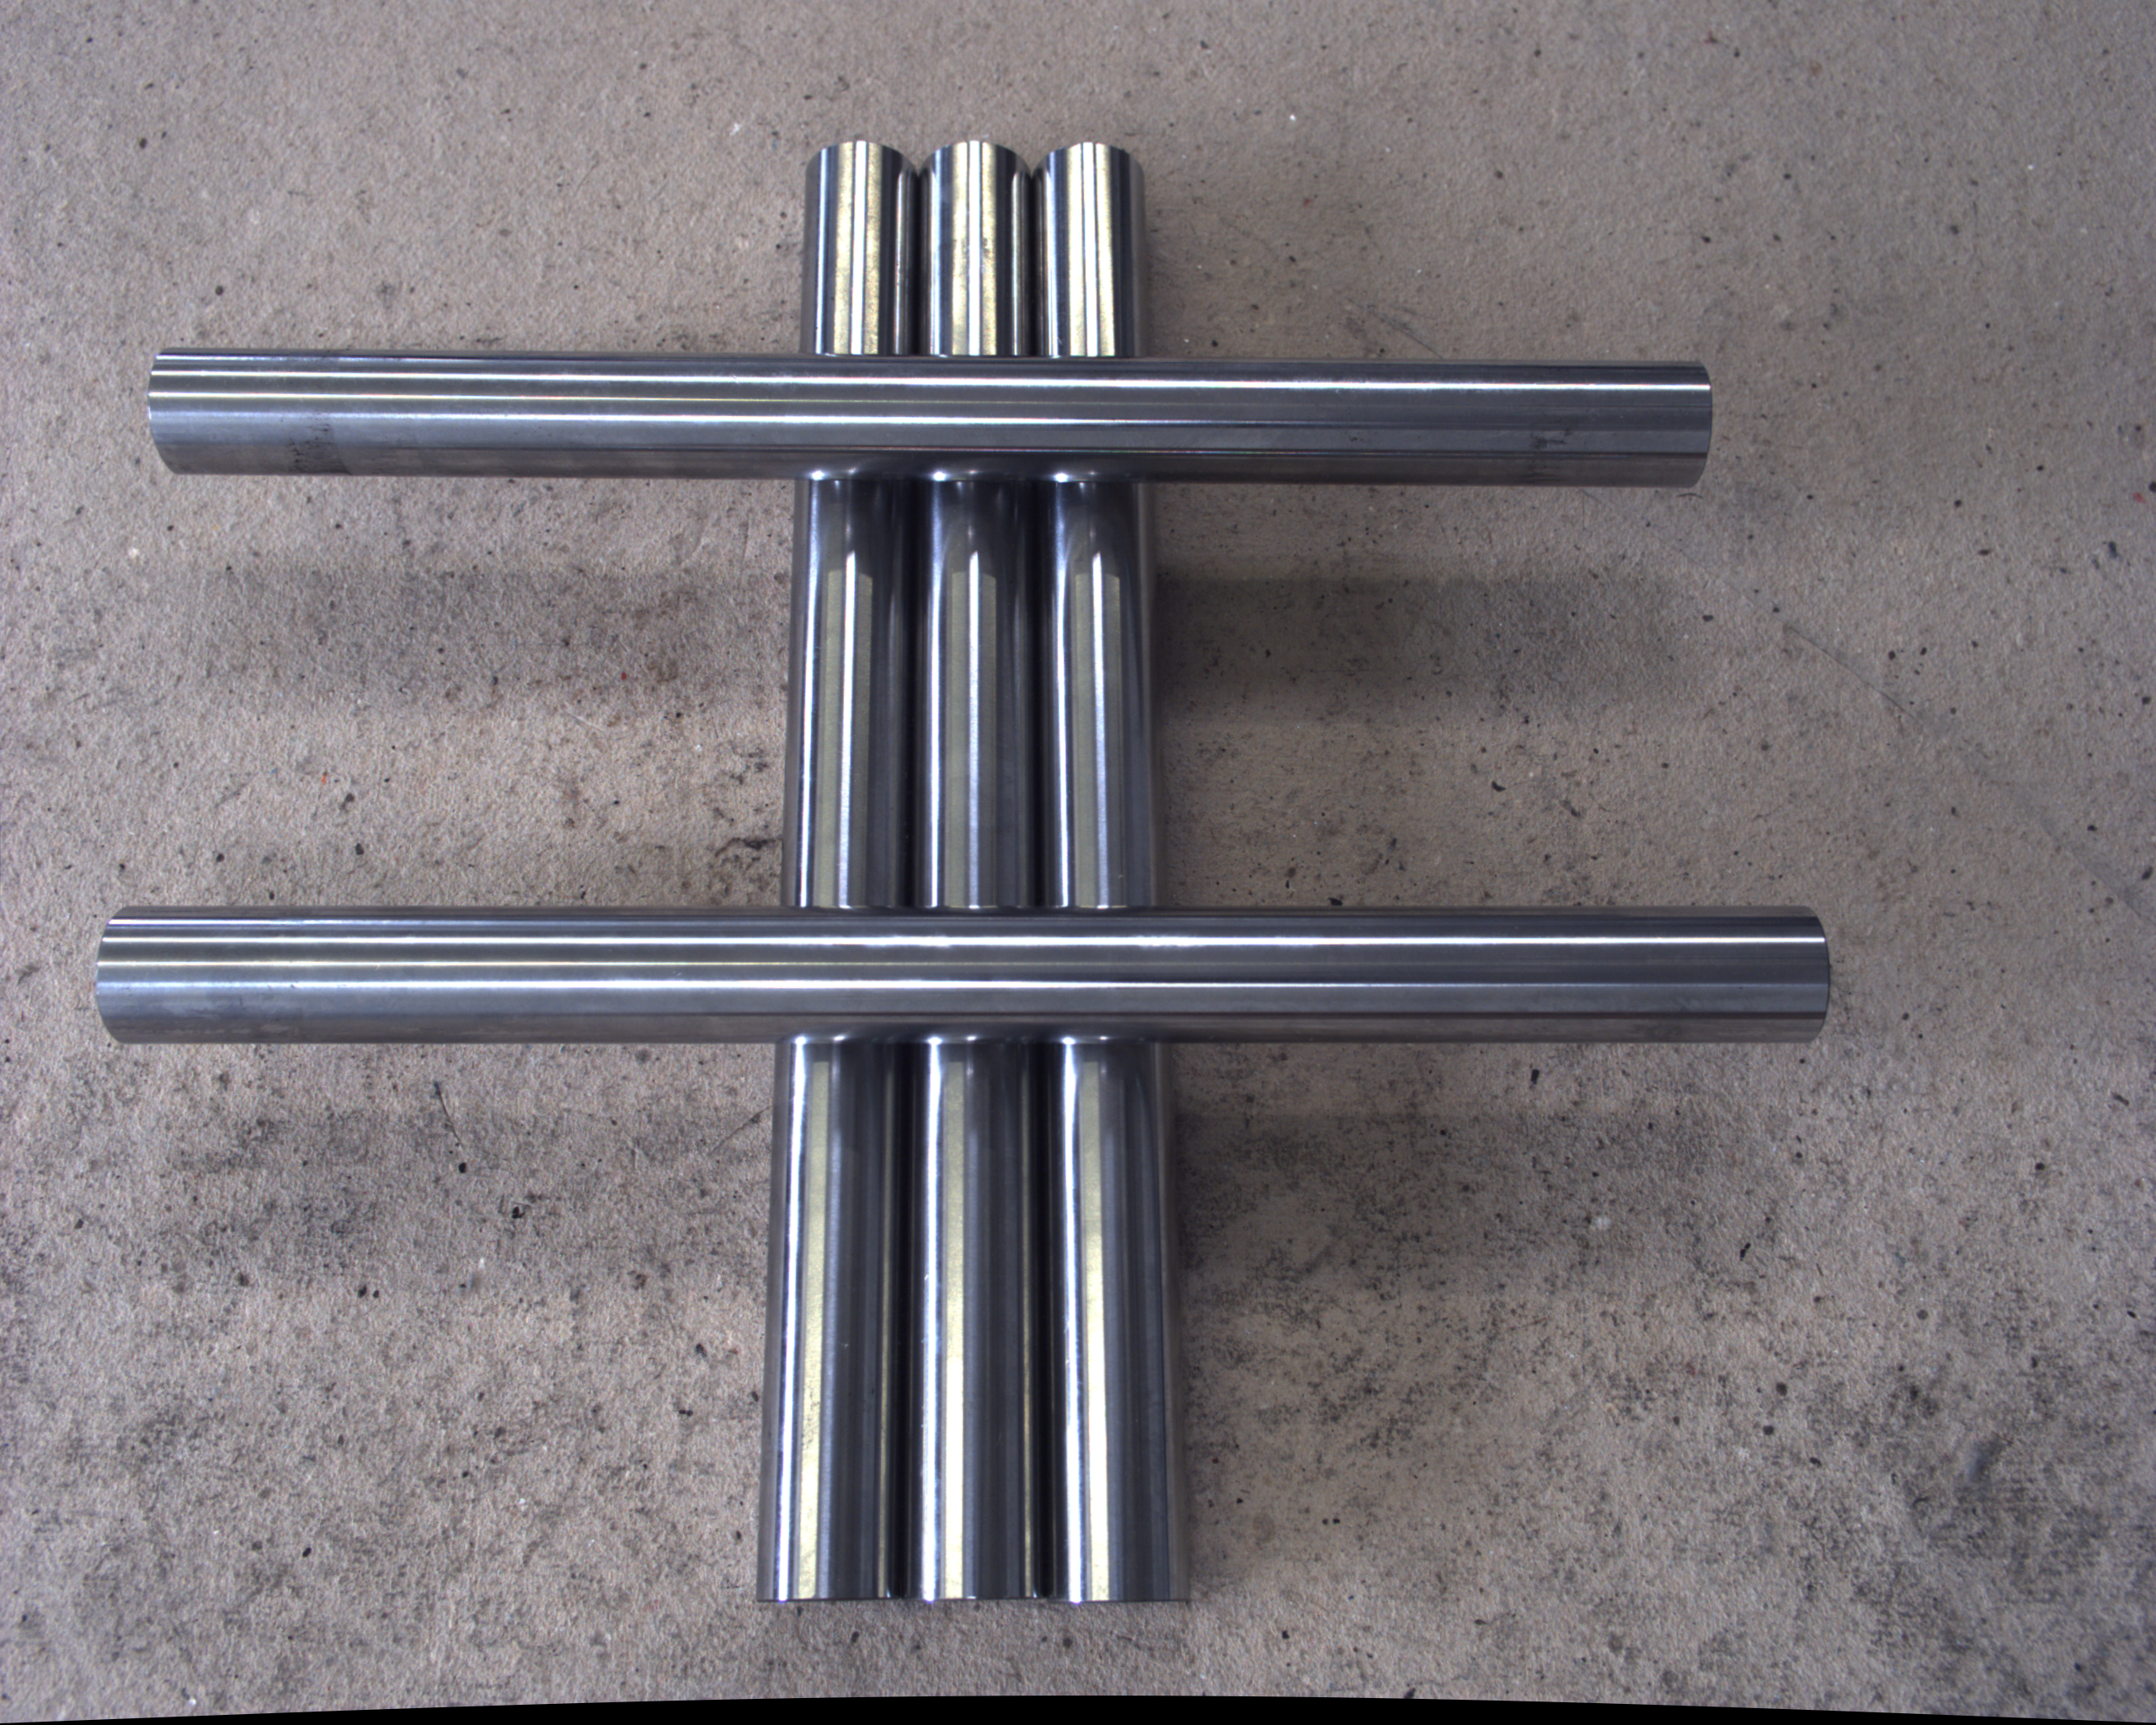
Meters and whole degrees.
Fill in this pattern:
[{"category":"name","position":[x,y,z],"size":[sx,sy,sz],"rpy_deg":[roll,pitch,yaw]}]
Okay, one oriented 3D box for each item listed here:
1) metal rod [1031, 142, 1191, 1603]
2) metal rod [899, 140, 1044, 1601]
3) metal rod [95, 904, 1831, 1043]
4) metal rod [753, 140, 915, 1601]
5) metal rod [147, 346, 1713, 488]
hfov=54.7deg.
[{"category":"metal rod","position":[0.005,-0.012,0.414],"size":[0.025,0.025,0.299],"rpy_deg":[-1,70,0]},{"category":"metal rod","position":[-0.021,-0.012,0.413],"size":[0.025,0.025,0.299],"rpy_deg":[-1,70,0]},{"category":"metal rod","position":[-0.019,0.020,0.375],"size":[0.302,0.025,0.025],"rpy_deg":[0,70,0]},{"category":"metal rod","position":[-0.046,-0.012,0.413],"size":[0.025,0.025,0.299],"rpy_deg":[-1,70,0]},{"category":"metal rod","position":[-0.028,-0.088,0.415],"size":[0.302,0.025,0.025],"rpy_deg":[0,70,0]}]
